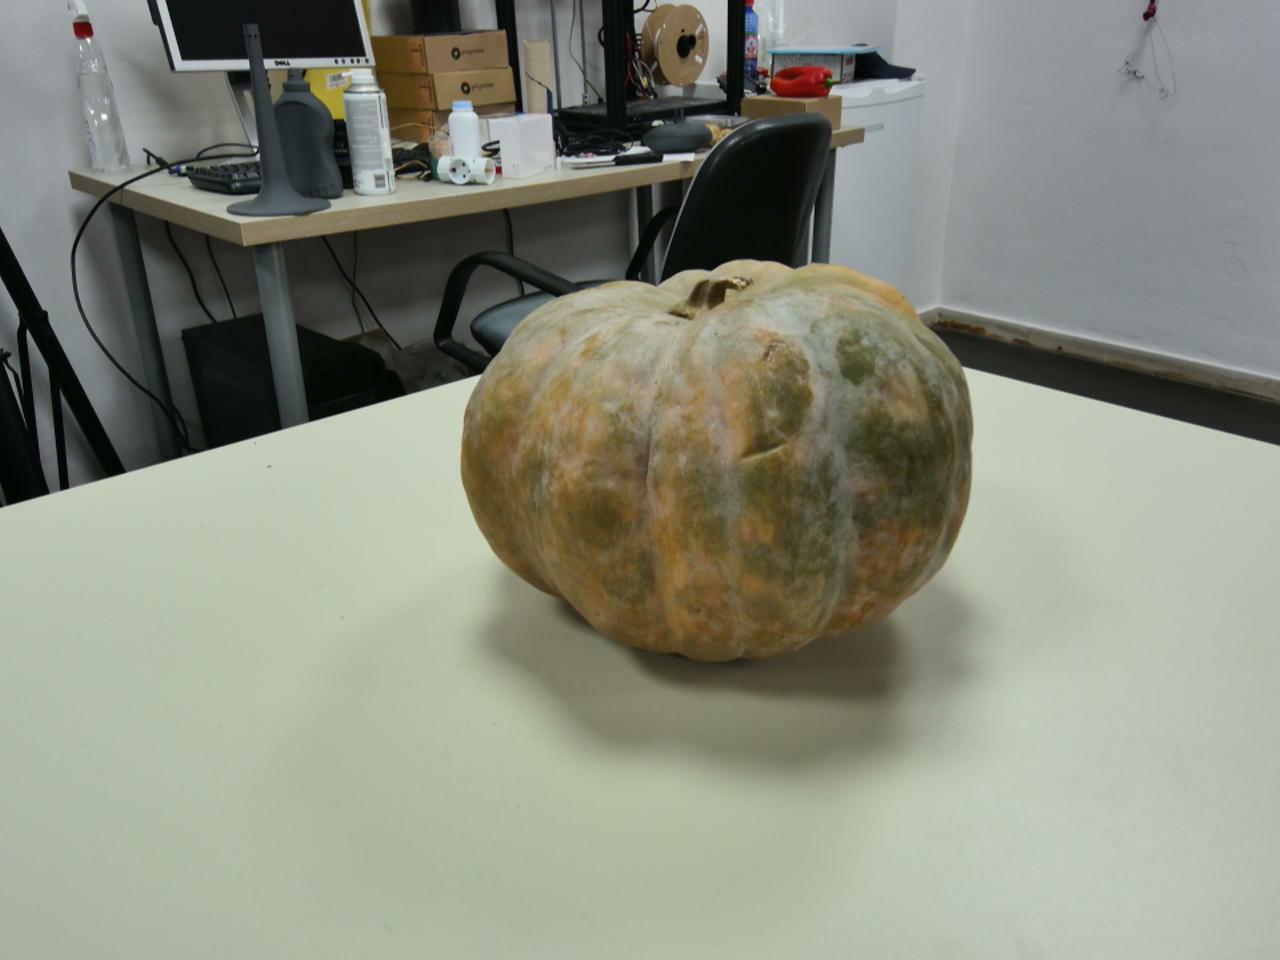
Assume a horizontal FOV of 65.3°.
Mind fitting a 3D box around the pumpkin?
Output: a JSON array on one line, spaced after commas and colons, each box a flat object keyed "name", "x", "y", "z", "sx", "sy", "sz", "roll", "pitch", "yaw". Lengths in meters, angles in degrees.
[{"name": "pumpkin", "x": 0.037, "y": -0.020, "z": 0.488, "sx": 0.252, "sy": 0.169, "sz": 0.251, "roll": 0, "pitch": 24, "yaw": 0}]
